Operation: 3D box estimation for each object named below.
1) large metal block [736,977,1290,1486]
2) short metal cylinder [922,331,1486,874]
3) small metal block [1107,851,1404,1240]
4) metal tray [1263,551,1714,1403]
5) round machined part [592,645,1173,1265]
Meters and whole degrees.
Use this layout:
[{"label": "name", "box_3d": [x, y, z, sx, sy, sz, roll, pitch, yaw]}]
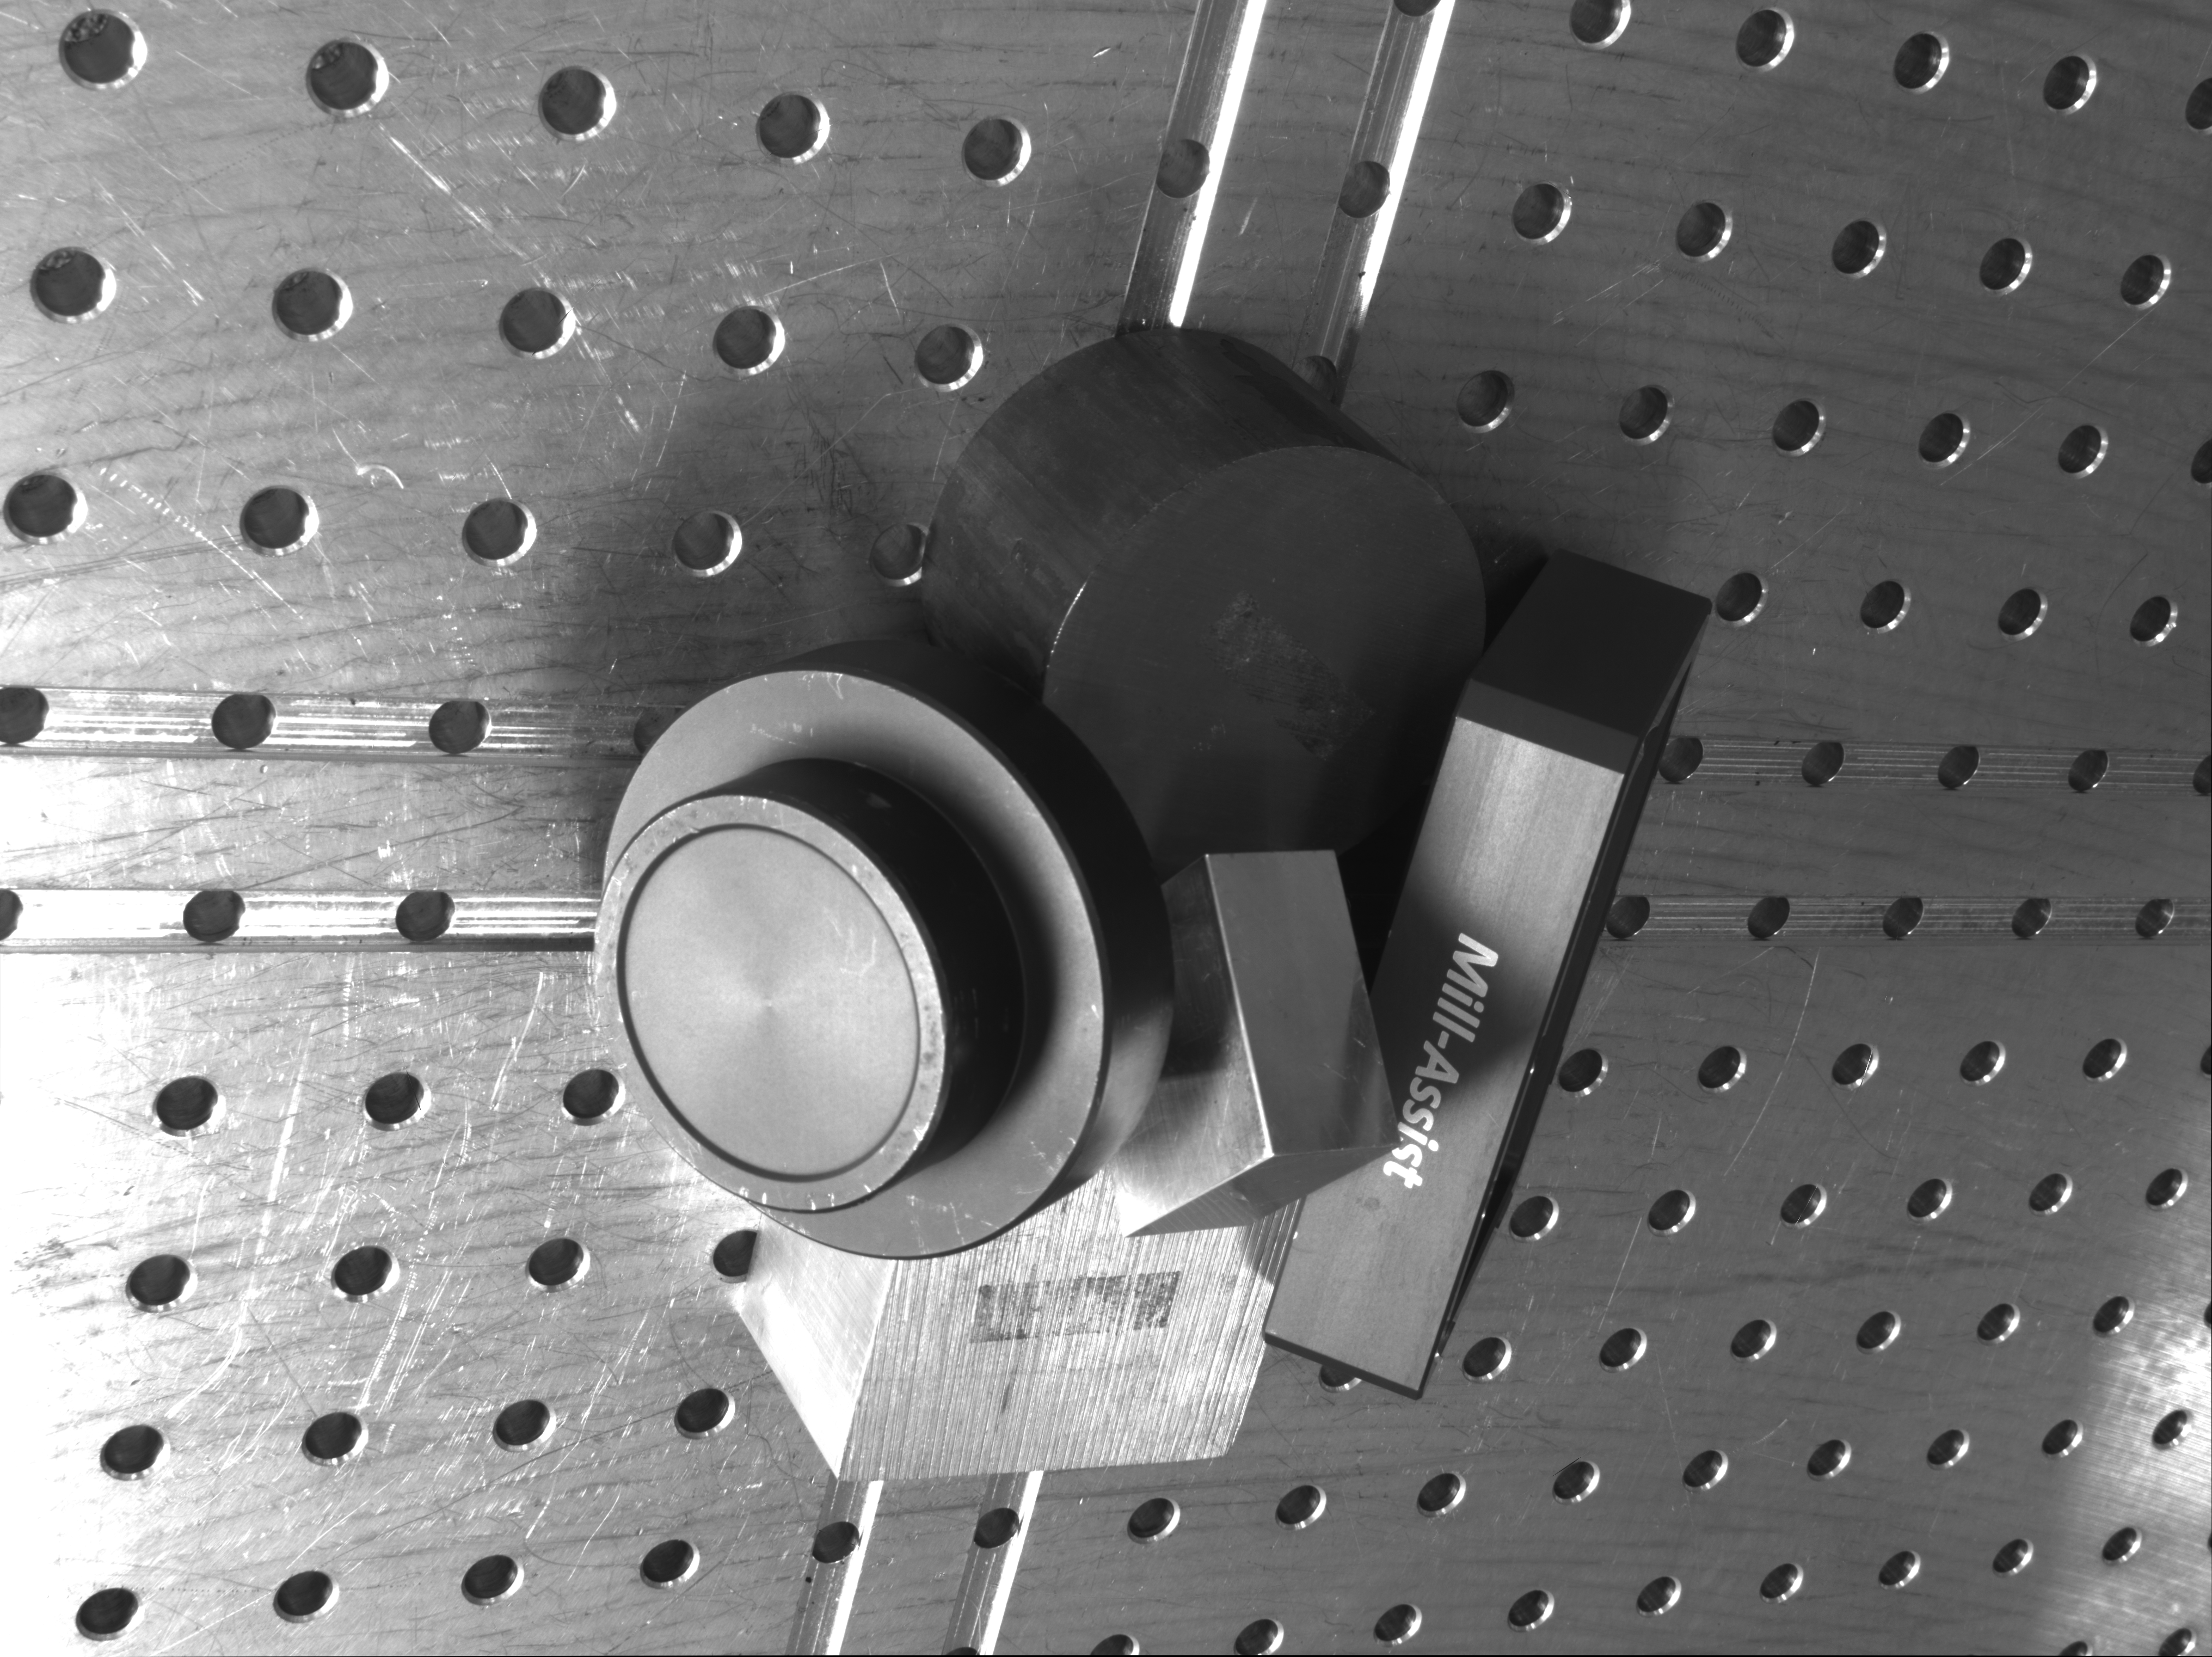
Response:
[{"label": "large metal block", "box_3d": [-0.013, 0.068, 0.658, 0.080, 0.050, 0.080, 2, 117, -29]}, {"label": "short metal cylinder", "box_3d": [0.016, -0.036, 0.610, 0.080, 0.050, 0.080, -14, 124, -21]}, {"label": "small metal block", "box_3d": [0.020, 0.036, 0.602, 0.025, 0.050, 0.050, -2, 161, -31]}, {"label": "metal tray", "box_3d": [0.068, 0.025, 0.652, 0.030, 0.090, 0.130, 20, 114, 11]}, {"label": "round machined part", "box_3d": [-0.042, 0.023, 0.580, 0.042, 0.098, 0.098, -26, 136, -56]}]
